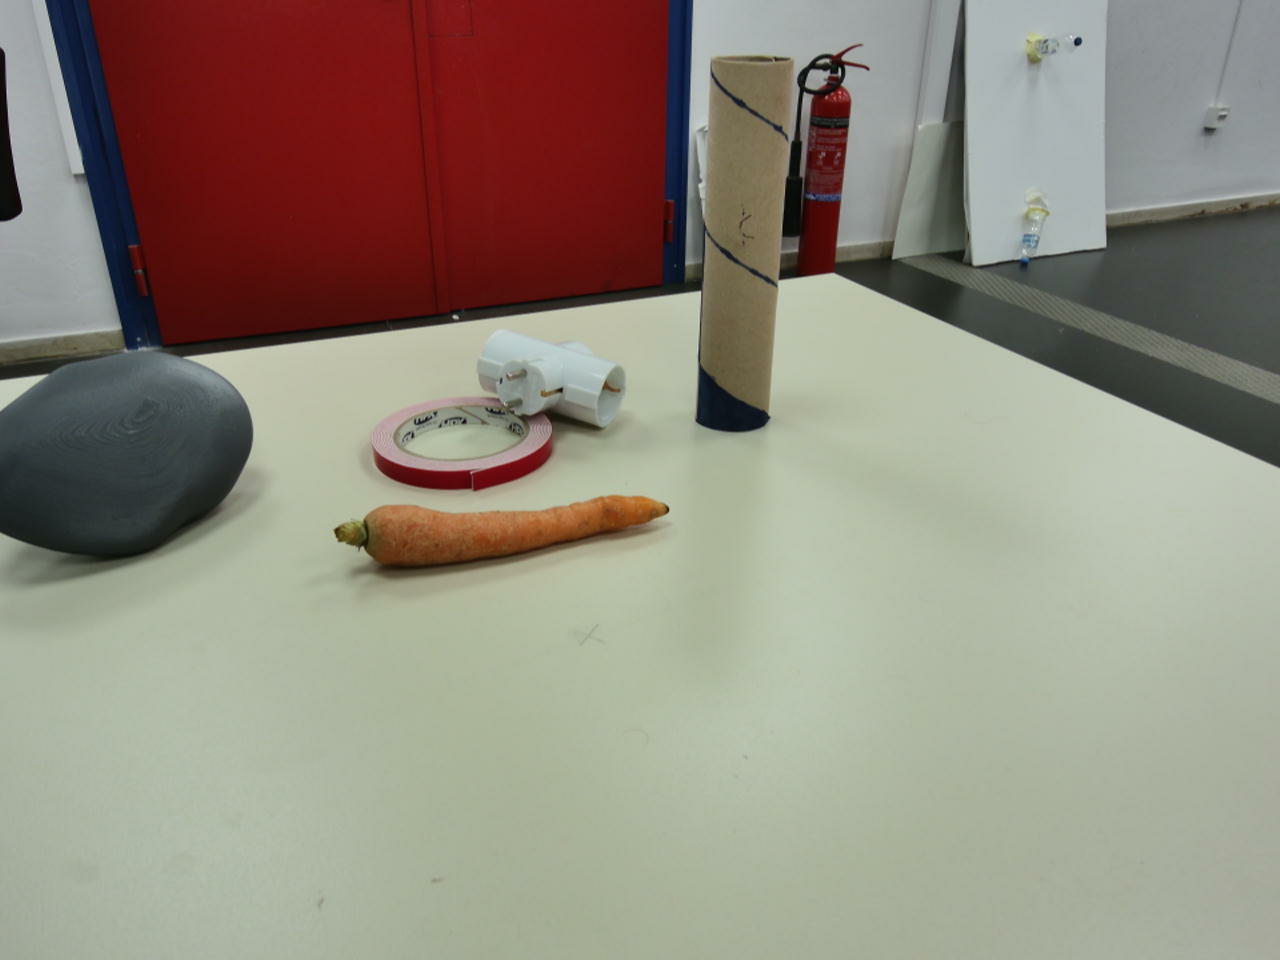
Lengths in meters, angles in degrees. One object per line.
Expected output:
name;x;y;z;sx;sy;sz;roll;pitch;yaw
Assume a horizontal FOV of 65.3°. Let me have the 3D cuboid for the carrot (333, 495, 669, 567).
carrot;-0.065;0.022;0.506;0.173;0.032;0.030;-7;26;-15
